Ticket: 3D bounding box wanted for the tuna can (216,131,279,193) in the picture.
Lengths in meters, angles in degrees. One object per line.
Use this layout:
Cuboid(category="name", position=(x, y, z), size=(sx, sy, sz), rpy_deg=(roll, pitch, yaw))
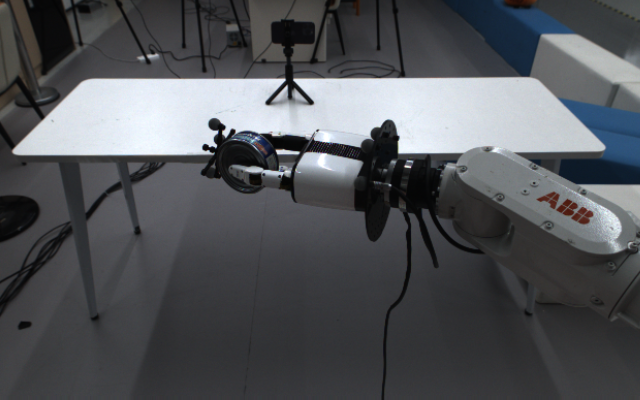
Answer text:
Cuboid(category="tuna can", position=(-0.102, -0.055, 0.689), size=(0.085, 0.085, 0.034), rpy_deg=(14, 31, 16))
